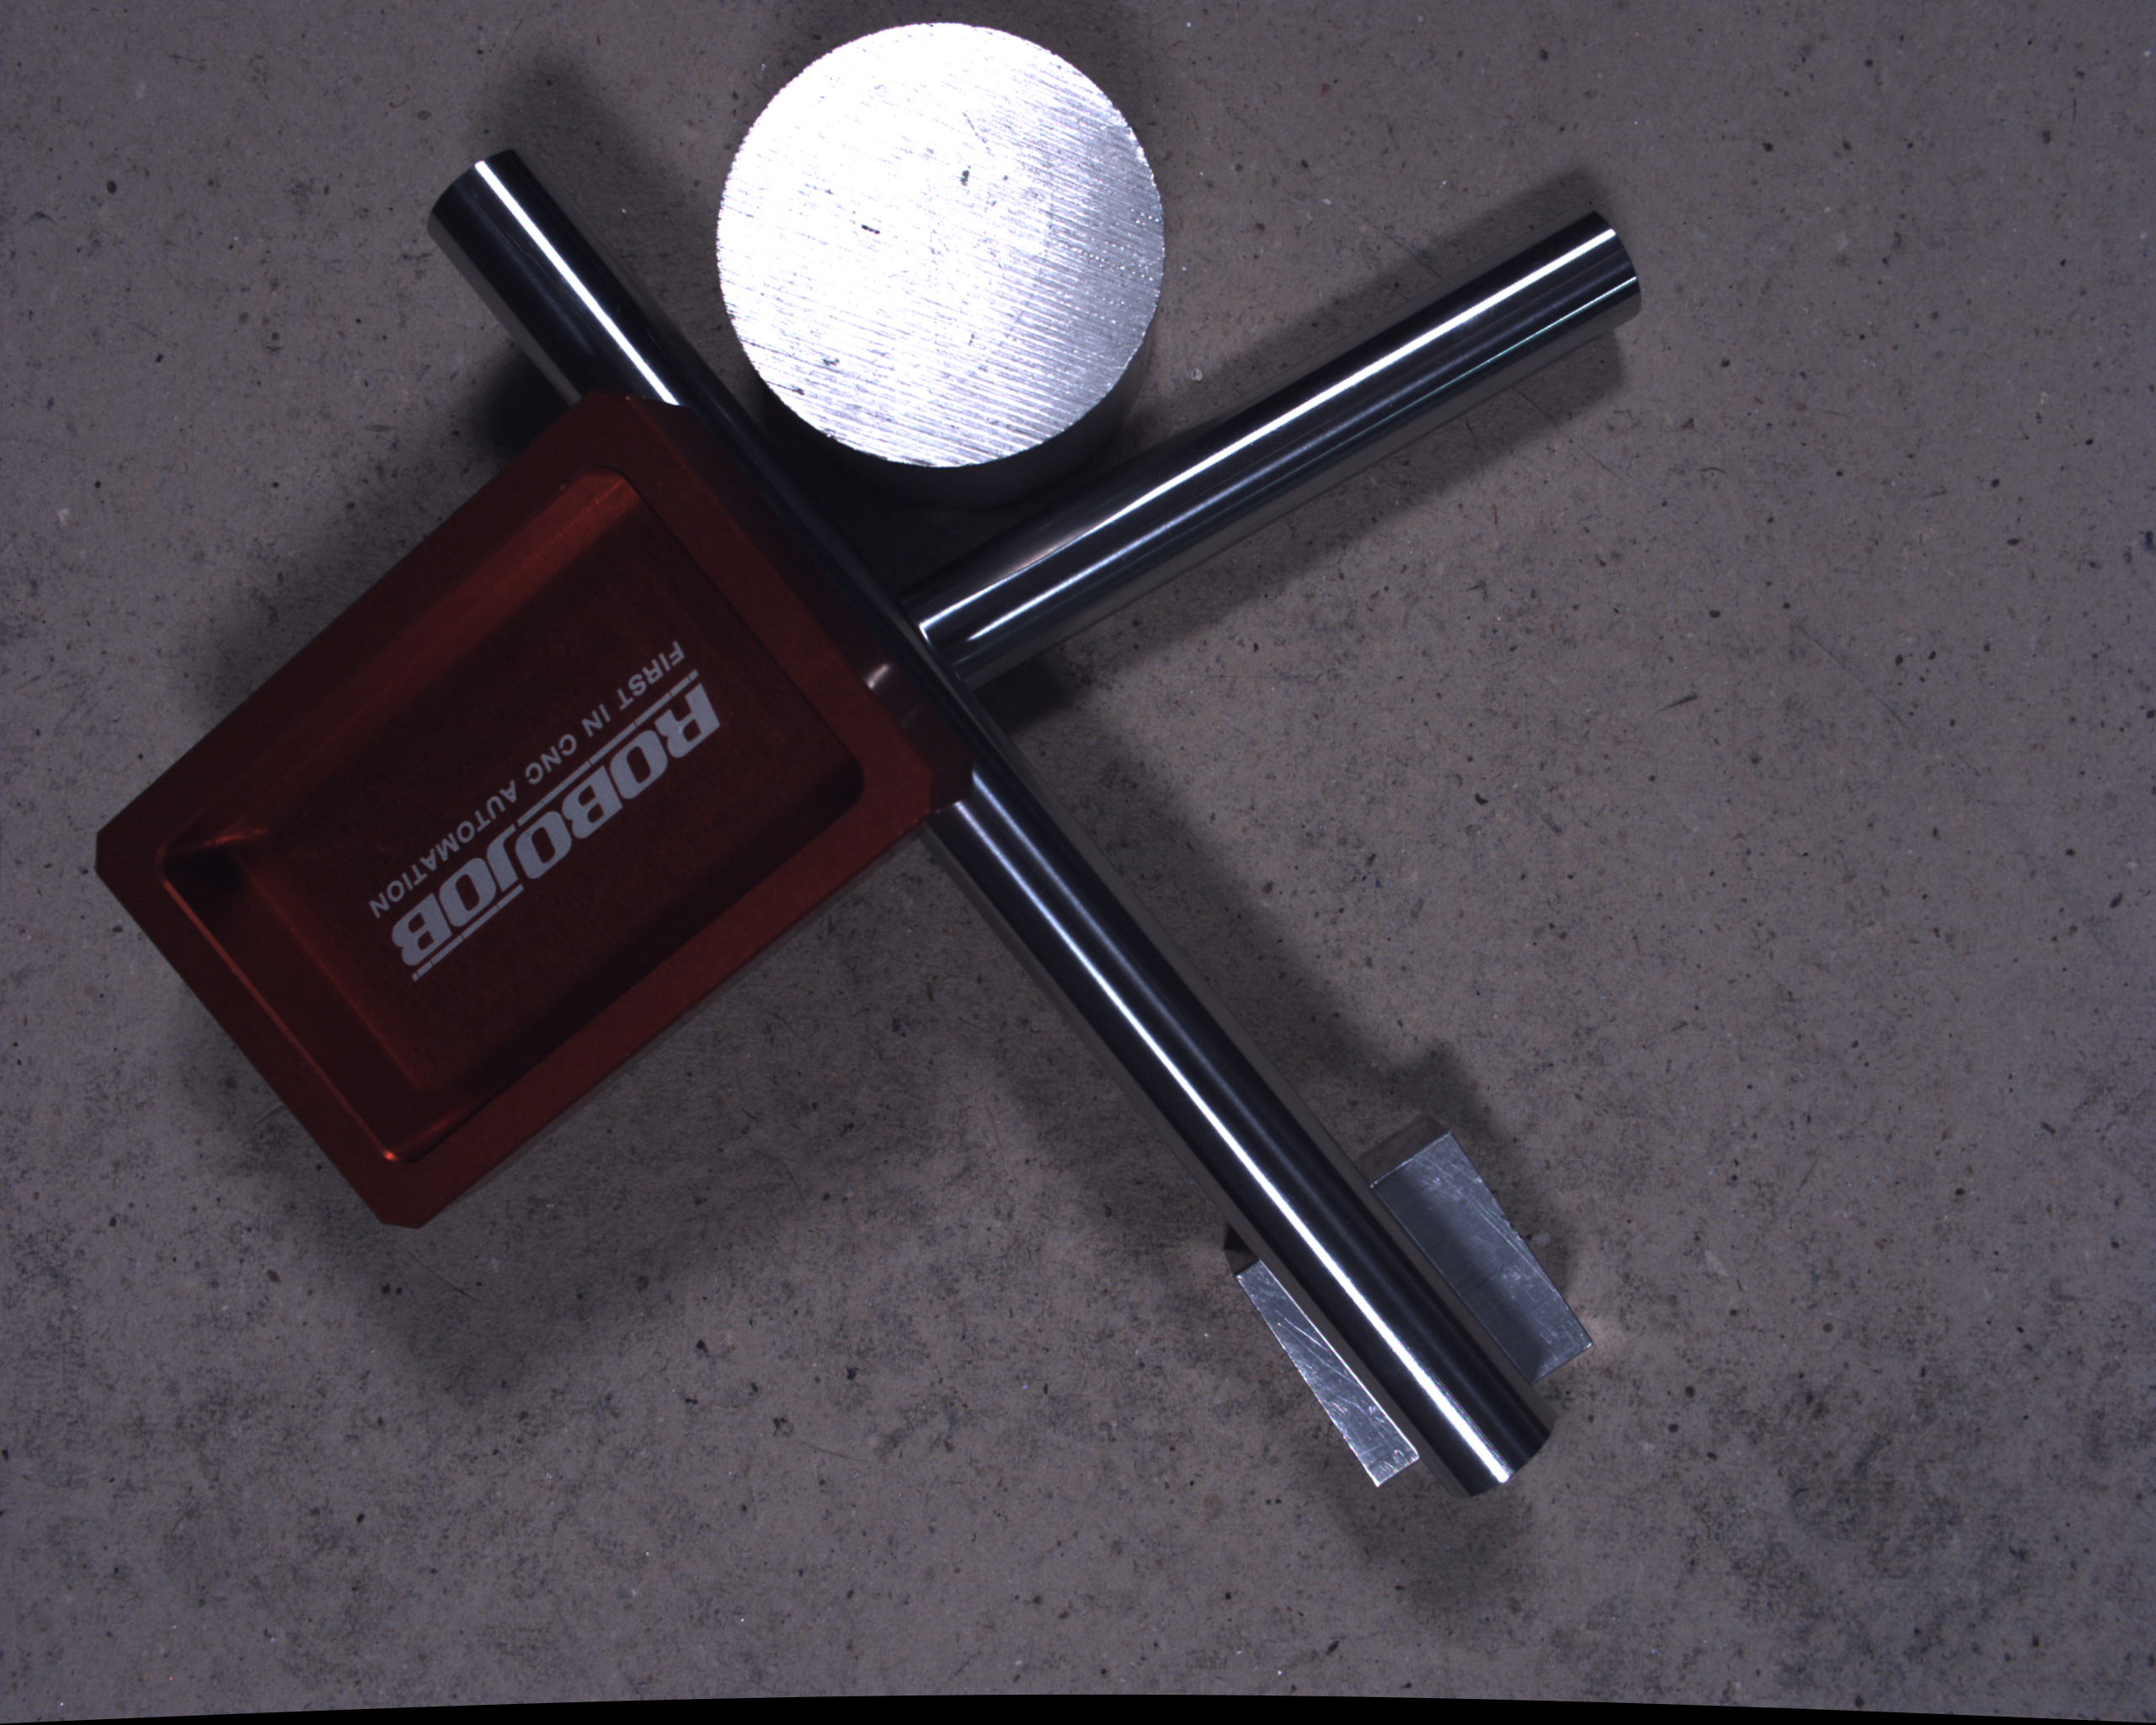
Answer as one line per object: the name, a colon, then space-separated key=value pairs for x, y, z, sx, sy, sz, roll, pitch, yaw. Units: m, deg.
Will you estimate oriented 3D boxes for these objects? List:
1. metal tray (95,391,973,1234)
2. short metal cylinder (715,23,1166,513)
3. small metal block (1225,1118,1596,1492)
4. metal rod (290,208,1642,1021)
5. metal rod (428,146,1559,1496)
metal tray: x=-0.096 y=-0.008 z=0.369 sx=0.130 sy=0.030 sz=0.090 roll=-39 pitch=90 yaw=11
short metal cylinder: x=-0.025 y=-0.110 z=0.398 sx=0.081 sy=0.050 sz=0.079 roll=0 pitch=90 yaw=-1
small metal block: x=0.064 y=0.086 z=0.412 sx=0.050 sy=0.025 sz=0.050 roll=-34 pitch=90 yaw=0
metal rod: x=-0.027 y=-0.044 z=0.411 sx=0.301 sy=0.025 sz=0.025 roll=-30 pitch=90 yaw=-1
metal rod: x=-0.015 y=-0.007 z=0.386 sx=0.025 sy=0.025 sz=0.300 roll=-39 pitch=91 yaw=0
